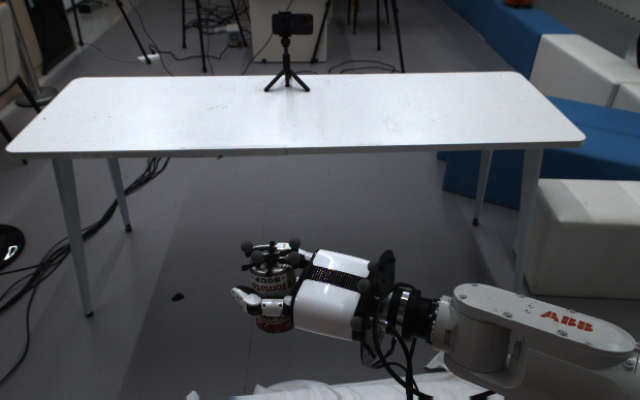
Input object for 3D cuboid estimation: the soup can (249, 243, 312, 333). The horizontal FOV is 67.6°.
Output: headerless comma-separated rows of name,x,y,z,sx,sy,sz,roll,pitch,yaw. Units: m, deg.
soup can,-0.065,0.131,0.699,0.067,0.101,0.067,-3,25,2
